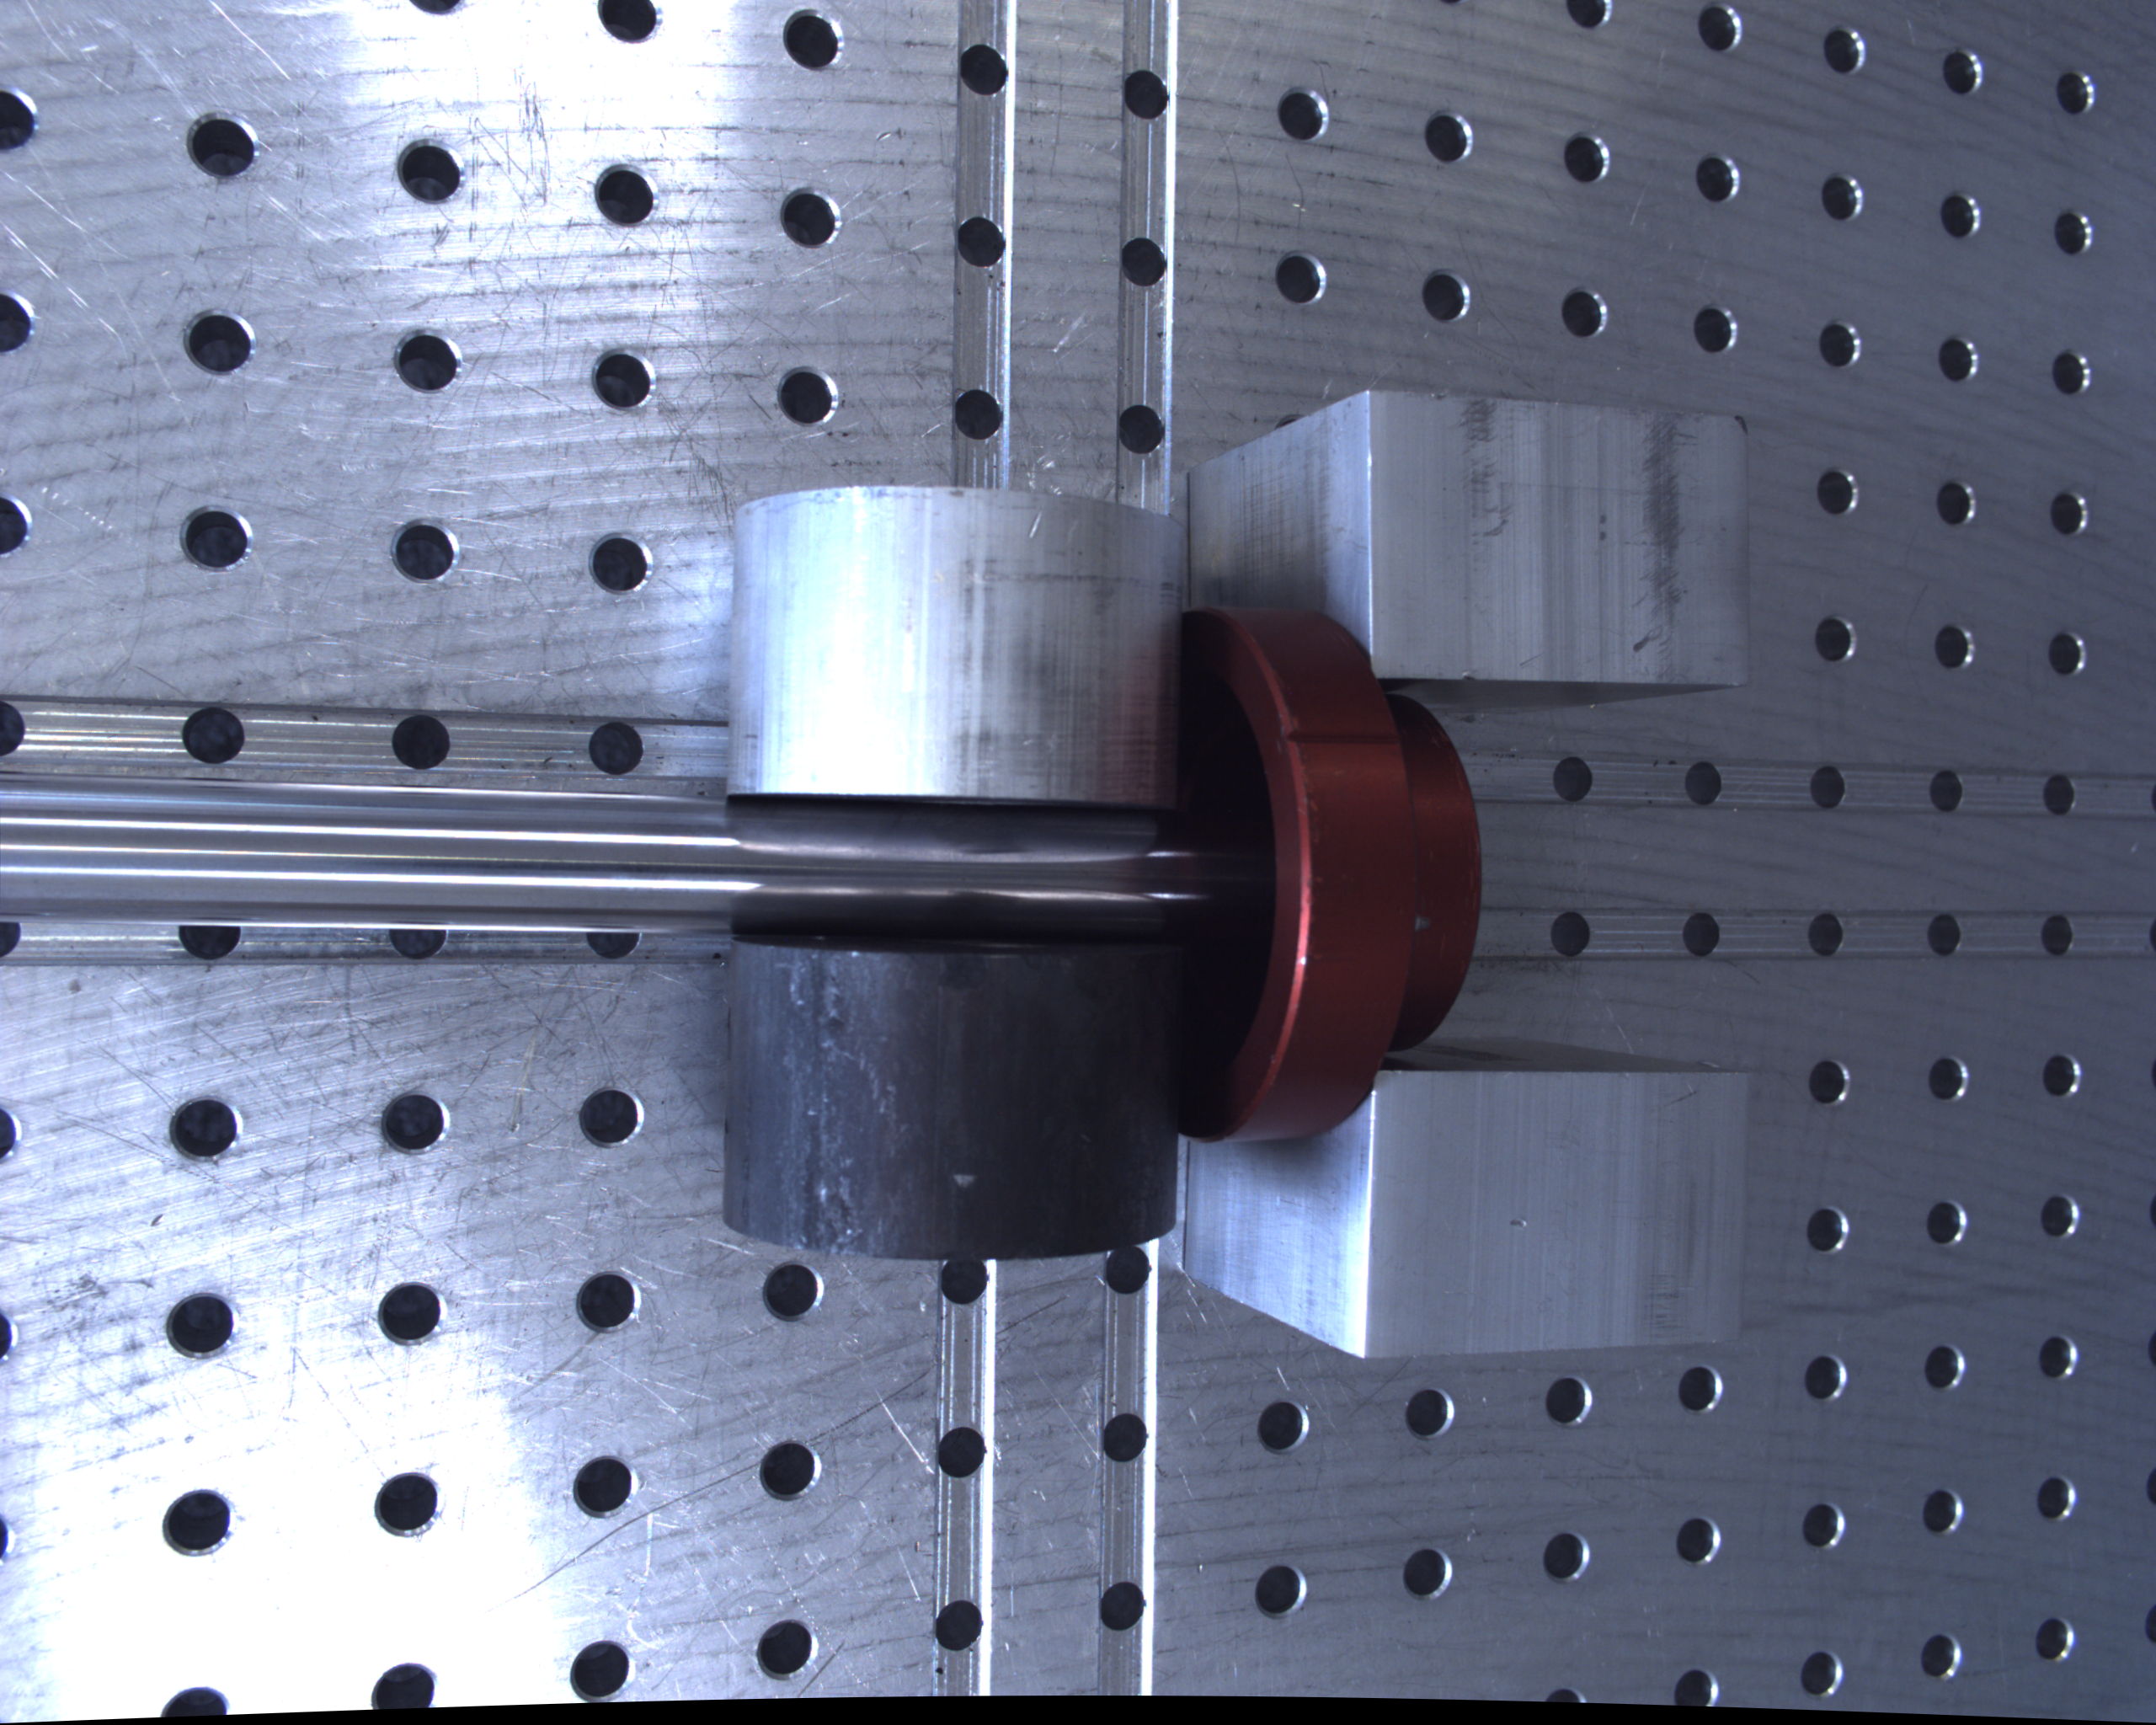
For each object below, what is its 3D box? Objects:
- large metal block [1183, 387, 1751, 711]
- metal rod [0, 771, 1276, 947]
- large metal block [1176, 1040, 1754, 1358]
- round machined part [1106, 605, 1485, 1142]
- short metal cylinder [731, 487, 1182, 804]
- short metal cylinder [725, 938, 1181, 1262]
[{"bbox_3d":[0.073,-0.058,0.411,0.081,0.080,0.050,0,90,-20],"label":"large metal block"},{"bbox_3d":[-0.105,0.000,0.361,0.302,0.025,0.025,2,90,-16],"label":"metal rod"},{"bbox_3d":[0.073,0.062,0.411,0.081,0.080,0.050,3,89,-20],"label":"large metal block"},{"bbox_3d":[0.040,0.002,0.388,0.042,0.098,0.097,1,90,-20],"label":"round machined part"},{"bbox_3d":[-0.022,-0.036,0.375,0.081,0.080,0.050,1,91,-20],"label":"short metal cylinder"},{"bbox_3d":[-0.022,0.039,0.374,0.081,0.080,0.050,1,90,-20],"label":"short metal cylinder"}]
